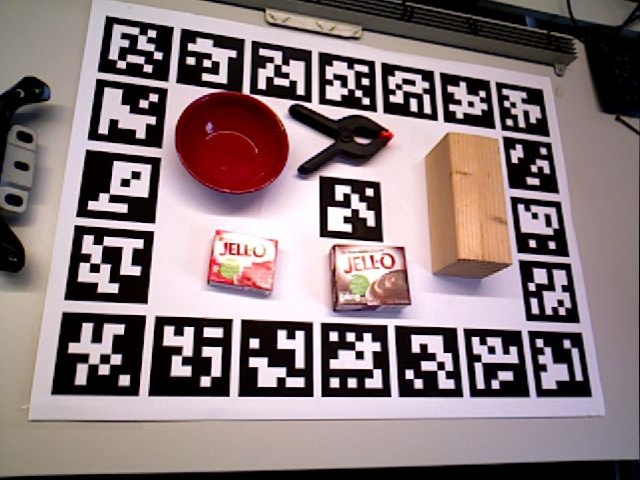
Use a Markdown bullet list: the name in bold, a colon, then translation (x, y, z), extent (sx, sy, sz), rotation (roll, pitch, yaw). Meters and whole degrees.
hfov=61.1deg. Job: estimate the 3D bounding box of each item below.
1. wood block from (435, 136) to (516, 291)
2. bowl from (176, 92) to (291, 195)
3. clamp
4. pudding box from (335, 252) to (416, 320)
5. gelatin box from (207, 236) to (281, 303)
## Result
- **wood block**: translation (0.236, -0.037, 0.820), extent (0.089, 0.092, 0.204), rotation (7, 71, -14)
- **bowl**: translation (-0.125, -0.126, 0.777), extent (0.160, 0.056, 0.161), rotation (4, 75, -15)
- **clamp**: translation (0.027, -0.148, 0.837), extent (0.163, 0.037, 0.121), rotation (-5, 74, -19)
- **pudding box**: translation (0.077, 0.067, 0.773), extent (0.113, 0.039, 0.089), rotation (4, 76, -12)
- **gelatin box**: translation (-0.102, 0.040, 0.736), extent (0.088, 0.030, 0.072), rotation (13, 72, -11)
